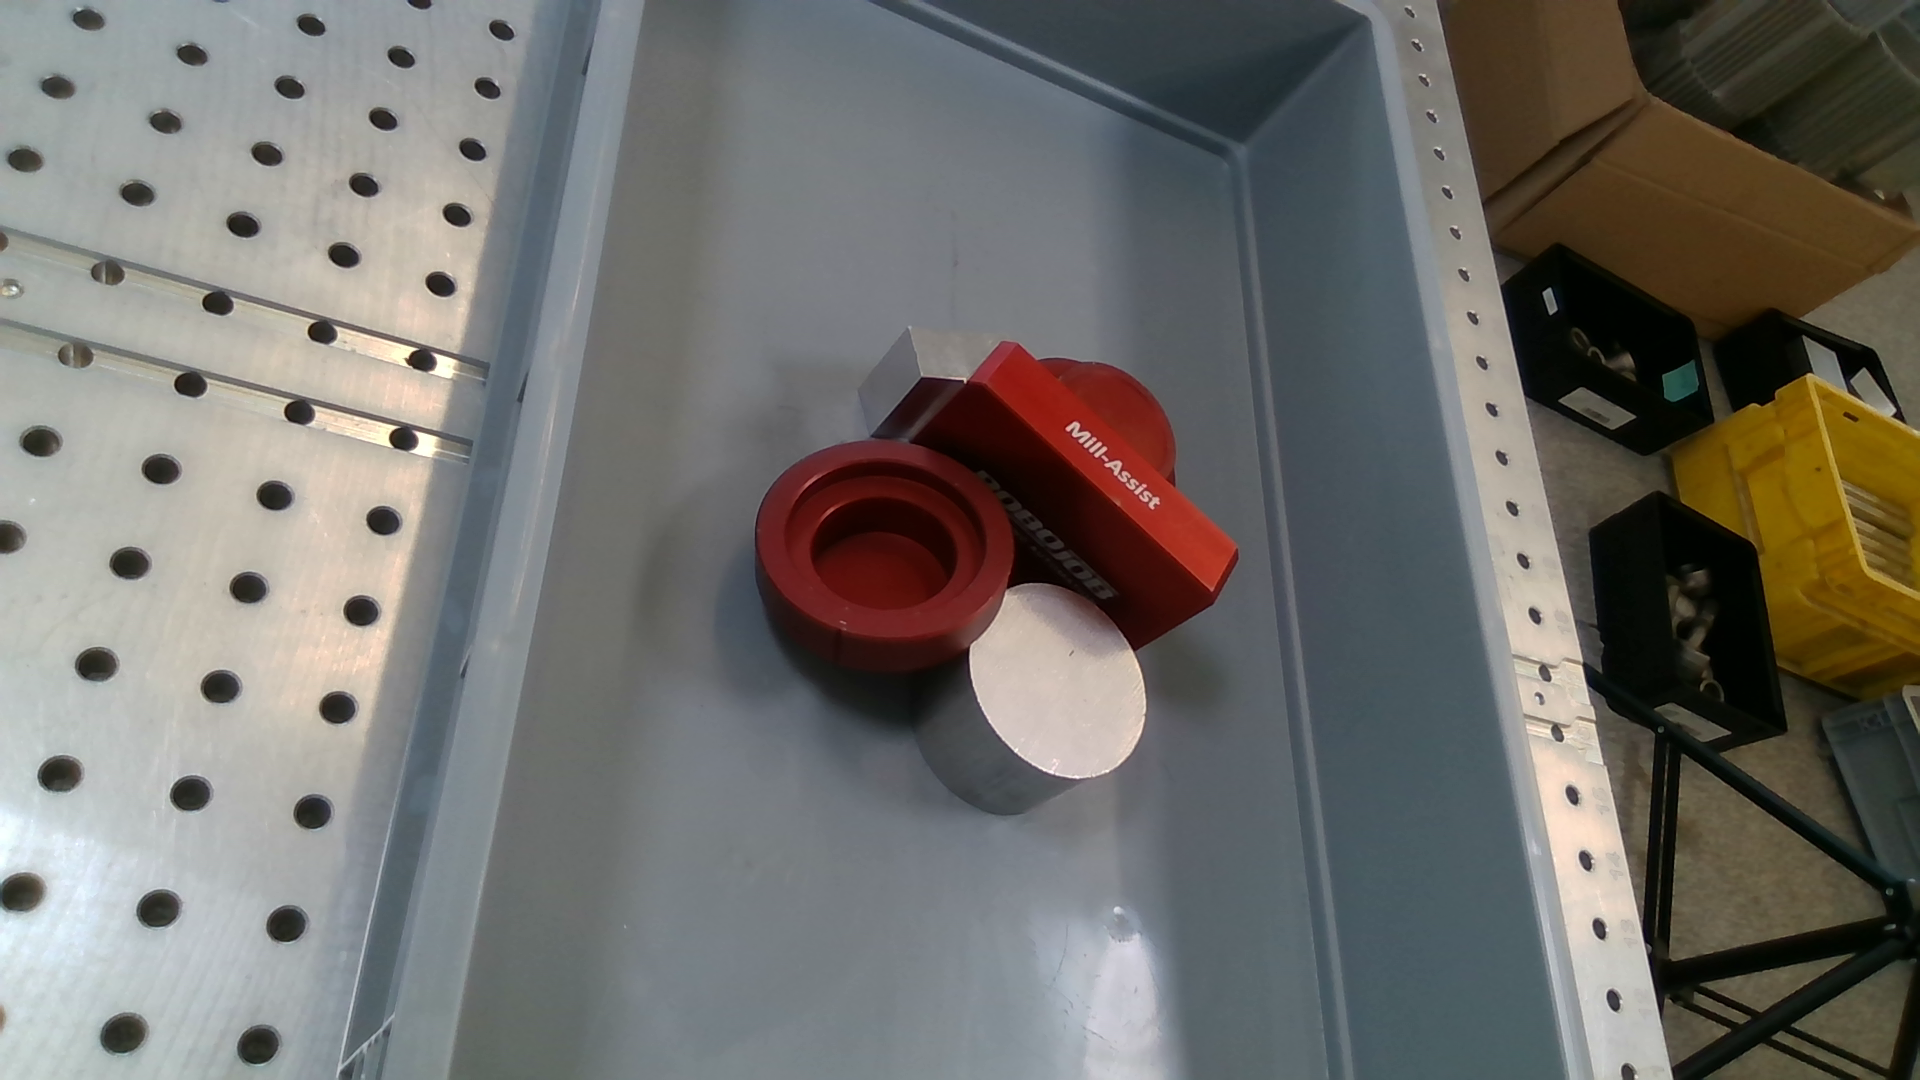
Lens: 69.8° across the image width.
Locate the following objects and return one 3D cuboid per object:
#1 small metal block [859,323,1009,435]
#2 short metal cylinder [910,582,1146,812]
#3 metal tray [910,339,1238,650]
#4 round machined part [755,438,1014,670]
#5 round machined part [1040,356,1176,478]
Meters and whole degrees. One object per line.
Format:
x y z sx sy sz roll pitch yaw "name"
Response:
-0.009 -0.068 0.599 0.050 0.050 0.025 -1 66 -32 "small metal block"
0.027 0.063 0.551 0.080 0.050 0.080 14 59 -25 "short metal cylinder"
0.039 -0.011 0.572 0.130 0.090 0.030 42 51 -6 "metal tray"
-0.030 0.010 0.535 0.098 0.042 0.098 5 51 -6 "round machined part"
0.060 -0.043 0.633 0.098 0.042 0.098 14 59 -25 "round machined part"
